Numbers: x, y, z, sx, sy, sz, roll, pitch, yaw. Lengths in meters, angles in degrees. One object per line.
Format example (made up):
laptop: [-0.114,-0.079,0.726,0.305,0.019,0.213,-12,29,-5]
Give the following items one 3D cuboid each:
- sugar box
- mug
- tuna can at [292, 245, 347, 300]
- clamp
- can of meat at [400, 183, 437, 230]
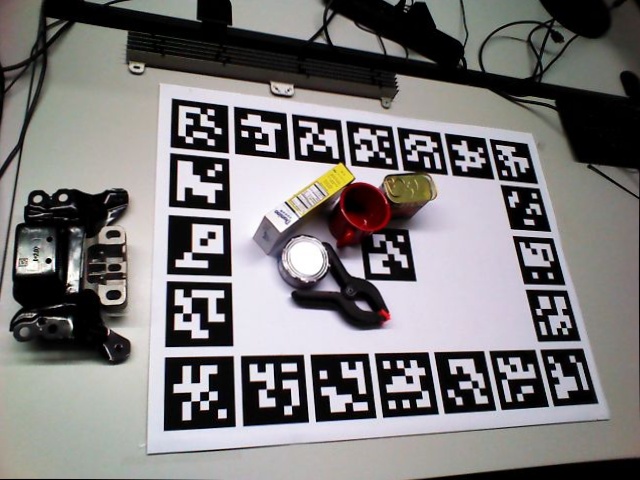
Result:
sugar box: [0.002,-0.036,0.853,0.175,0.093,0.045,-38,84,-29]
mug: [0.091,-0.018,0.875,0.093,0.082,0.116,27,65,-9]
tuna can: [-0.002,0.054,0.842,0.085,0.034,0.085,6,69,-17]
clamp: [0.073,0.111,0.853,0.165,0.037,0.121,37,58,-8]
can of meat: [0.180,-0.058,0.931,0.101,0.084,0.057,-5,70,-23]
